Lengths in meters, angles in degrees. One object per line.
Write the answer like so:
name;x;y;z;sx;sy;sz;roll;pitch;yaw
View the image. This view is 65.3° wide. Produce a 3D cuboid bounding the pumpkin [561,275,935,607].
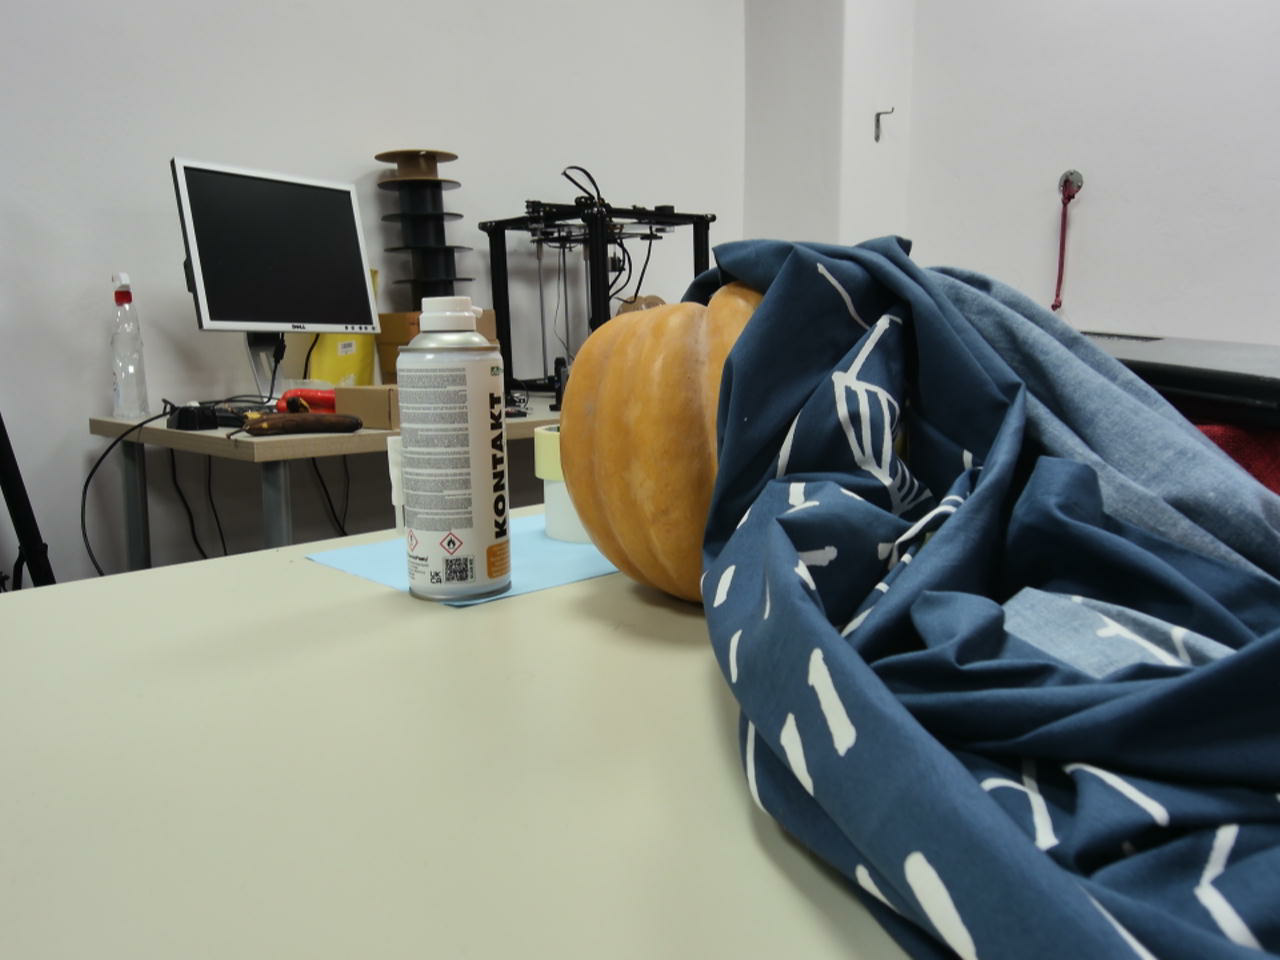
pumpkin;0.063;-0.023;0.617;0.230;0.194;0.230;0;6;0
